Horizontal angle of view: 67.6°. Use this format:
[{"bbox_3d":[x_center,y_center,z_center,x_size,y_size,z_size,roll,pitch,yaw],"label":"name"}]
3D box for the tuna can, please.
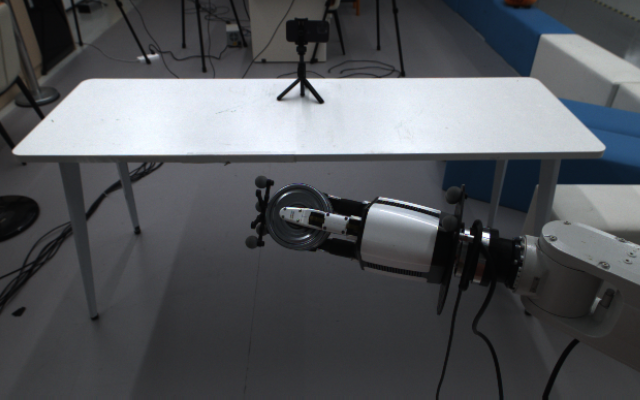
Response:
[{"bbox_3d":[-0.022,0.025,0.619,0.085,0.085,0.034,9,-6,10],"label":"tuna can"}]
